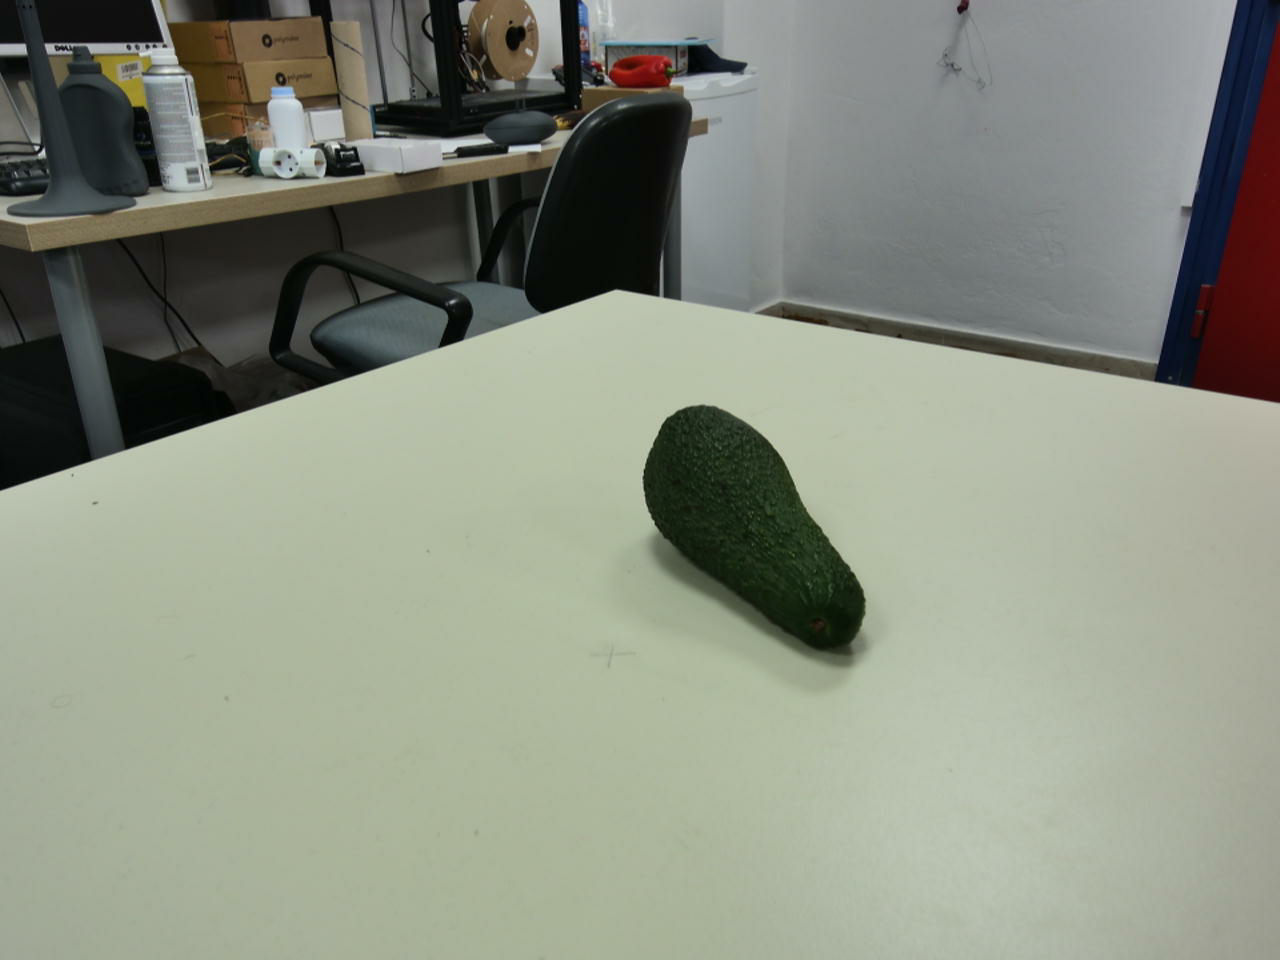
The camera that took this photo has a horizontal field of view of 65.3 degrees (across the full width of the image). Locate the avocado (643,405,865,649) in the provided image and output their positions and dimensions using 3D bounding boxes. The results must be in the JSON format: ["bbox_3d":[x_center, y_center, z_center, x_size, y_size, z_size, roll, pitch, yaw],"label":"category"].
[{"bbox_3d":[0.051,0.012,0.422,0.063,0.067,0.141,-16,27,-33],"label":"avocado"}]
